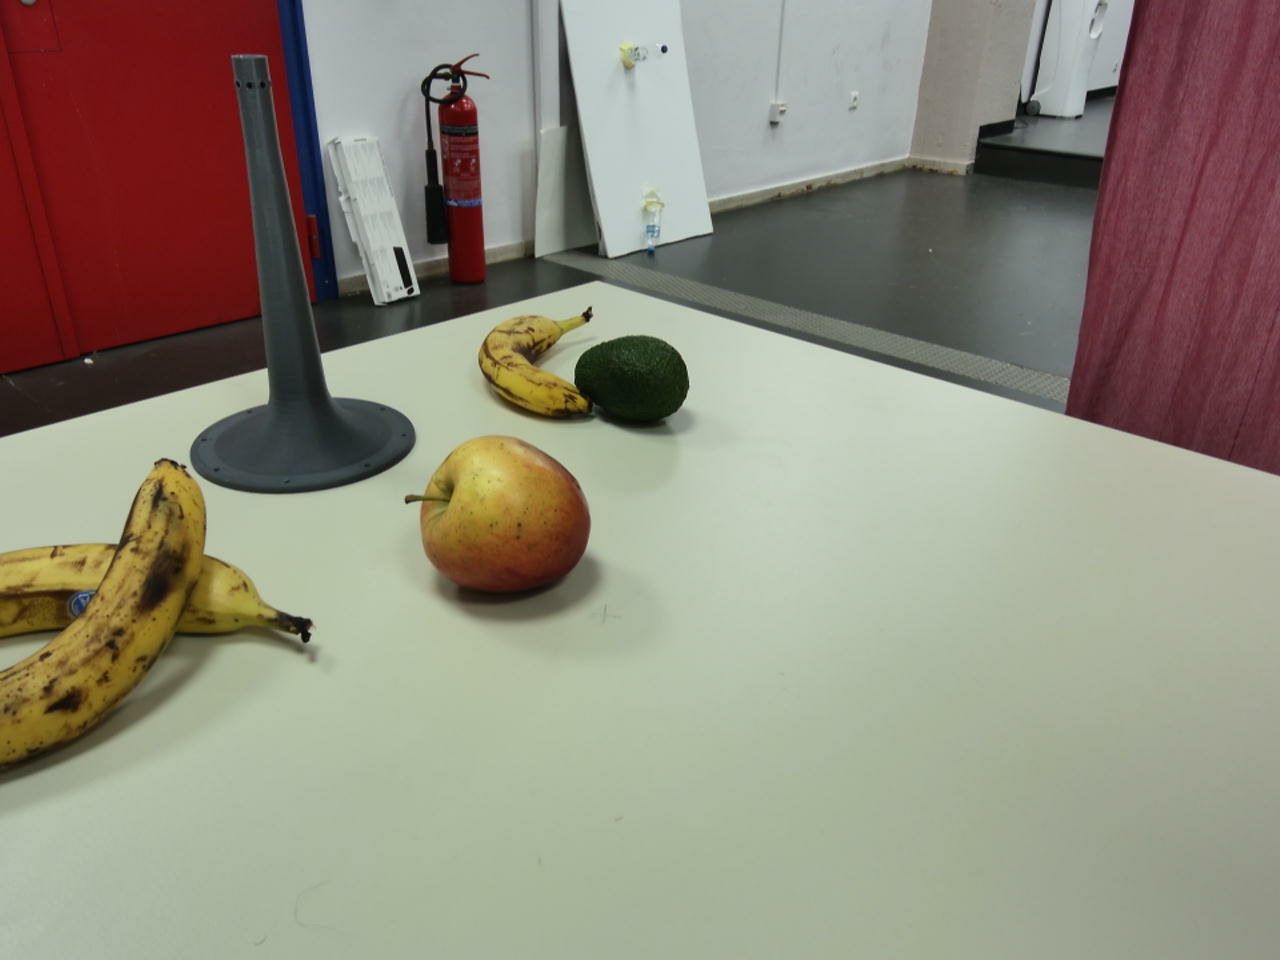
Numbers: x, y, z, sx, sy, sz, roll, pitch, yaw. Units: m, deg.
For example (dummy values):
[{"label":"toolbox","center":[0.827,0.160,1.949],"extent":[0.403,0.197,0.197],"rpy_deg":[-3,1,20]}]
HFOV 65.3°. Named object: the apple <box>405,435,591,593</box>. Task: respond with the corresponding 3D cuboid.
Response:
[{"label":"apple","center":[-0.074,0.019,0.541],"extent":[0.093,0.084,0.086],"rpy_deg":[4,25,5]}]
